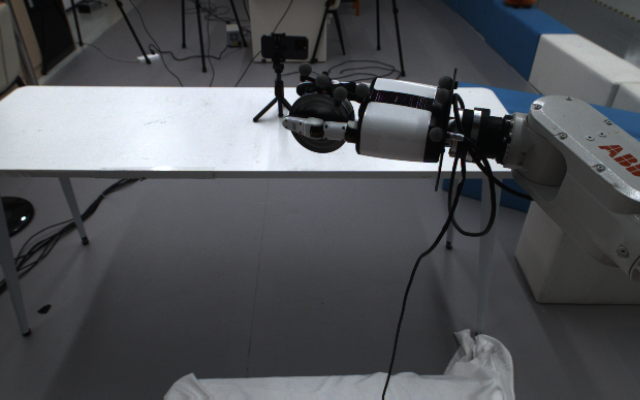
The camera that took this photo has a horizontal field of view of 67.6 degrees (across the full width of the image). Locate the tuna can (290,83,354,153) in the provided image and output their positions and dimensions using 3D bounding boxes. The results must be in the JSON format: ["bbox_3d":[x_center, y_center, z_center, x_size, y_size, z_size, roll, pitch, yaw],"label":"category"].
[{"bbox_3d":[0.004,-0.111,0.657,0.085,0.085,0.034,12,33,14],"label":"tuna can"}]
